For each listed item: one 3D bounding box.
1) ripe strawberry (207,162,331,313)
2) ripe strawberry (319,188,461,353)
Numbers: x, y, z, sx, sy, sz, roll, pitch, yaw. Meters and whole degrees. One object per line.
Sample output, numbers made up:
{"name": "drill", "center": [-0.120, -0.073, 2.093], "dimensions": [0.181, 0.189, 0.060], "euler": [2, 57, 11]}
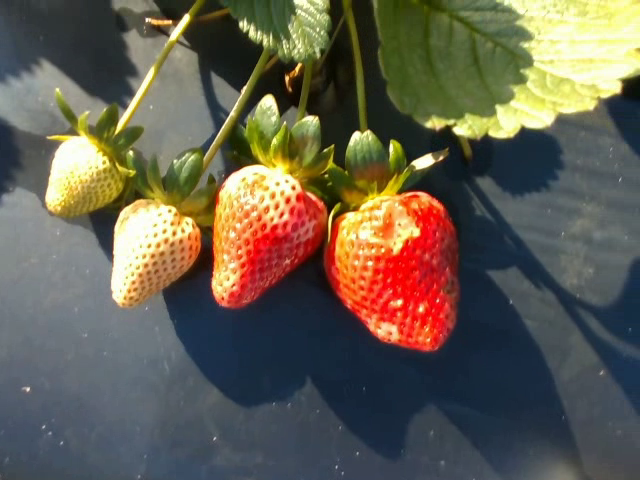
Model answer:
{"name": "ripe strawberry", "center": [-0.022, -0.001, 0.204], "dimensions": [0.050, 0.061, 0.043], "euler": [34, -17, -21]}
{"name": "ripe strawberry", "center": [0.031, 0.013, 0.205], "dimensions": [0.056, 0.067, 0.051], "euler": [-30, -26, 19]}
